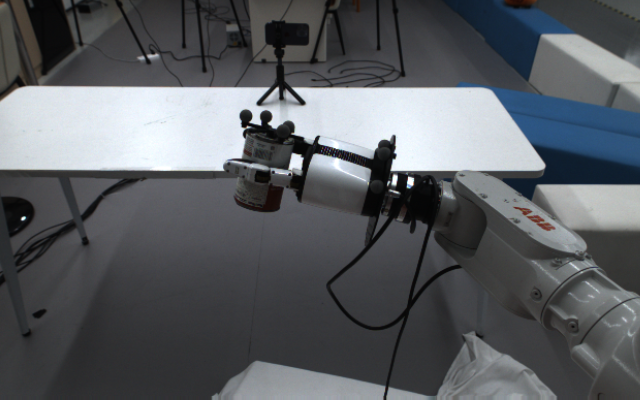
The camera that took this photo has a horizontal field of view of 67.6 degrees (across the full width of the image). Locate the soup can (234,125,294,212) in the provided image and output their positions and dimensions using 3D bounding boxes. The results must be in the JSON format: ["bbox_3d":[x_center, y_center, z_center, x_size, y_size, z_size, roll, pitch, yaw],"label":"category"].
[{"bbox_3d":[-0.077,-0.041,0.672,0.067,0.101,0.067,13,18,-4],"label":"soup can"}]
